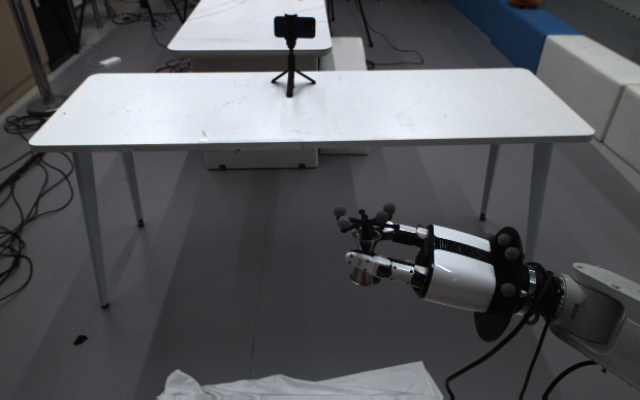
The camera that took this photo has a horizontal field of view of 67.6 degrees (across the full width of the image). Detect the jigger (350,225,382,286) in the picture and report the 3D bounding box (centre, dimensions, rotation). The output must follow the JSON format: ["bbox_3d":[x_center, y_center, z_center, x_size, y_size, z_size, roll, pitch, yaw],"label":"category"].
[{"bbox_3d":[0.063,0.077,0.668,0.043,0.071,0.043,0,21,0],"label":"jigger"}]
